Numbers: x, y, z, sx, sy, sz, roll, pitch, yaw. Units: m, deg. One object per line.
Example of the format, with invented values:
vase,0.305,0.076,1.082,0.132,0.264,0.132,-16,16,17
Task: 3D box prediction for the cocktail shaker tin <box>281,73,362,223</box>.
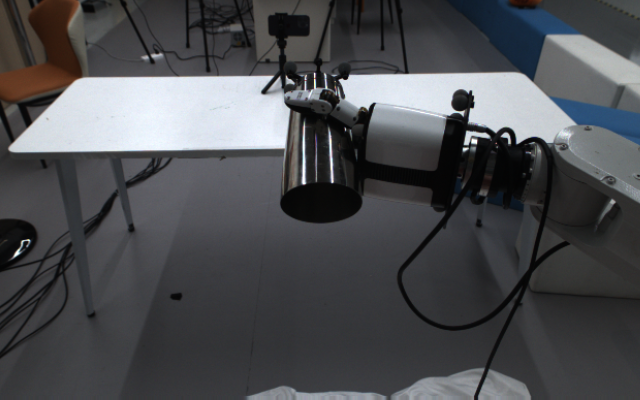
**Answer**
cocktail shaker tin,-0.001,-0.069,0.577,0.093,0.093,0.170,0,59,-3
